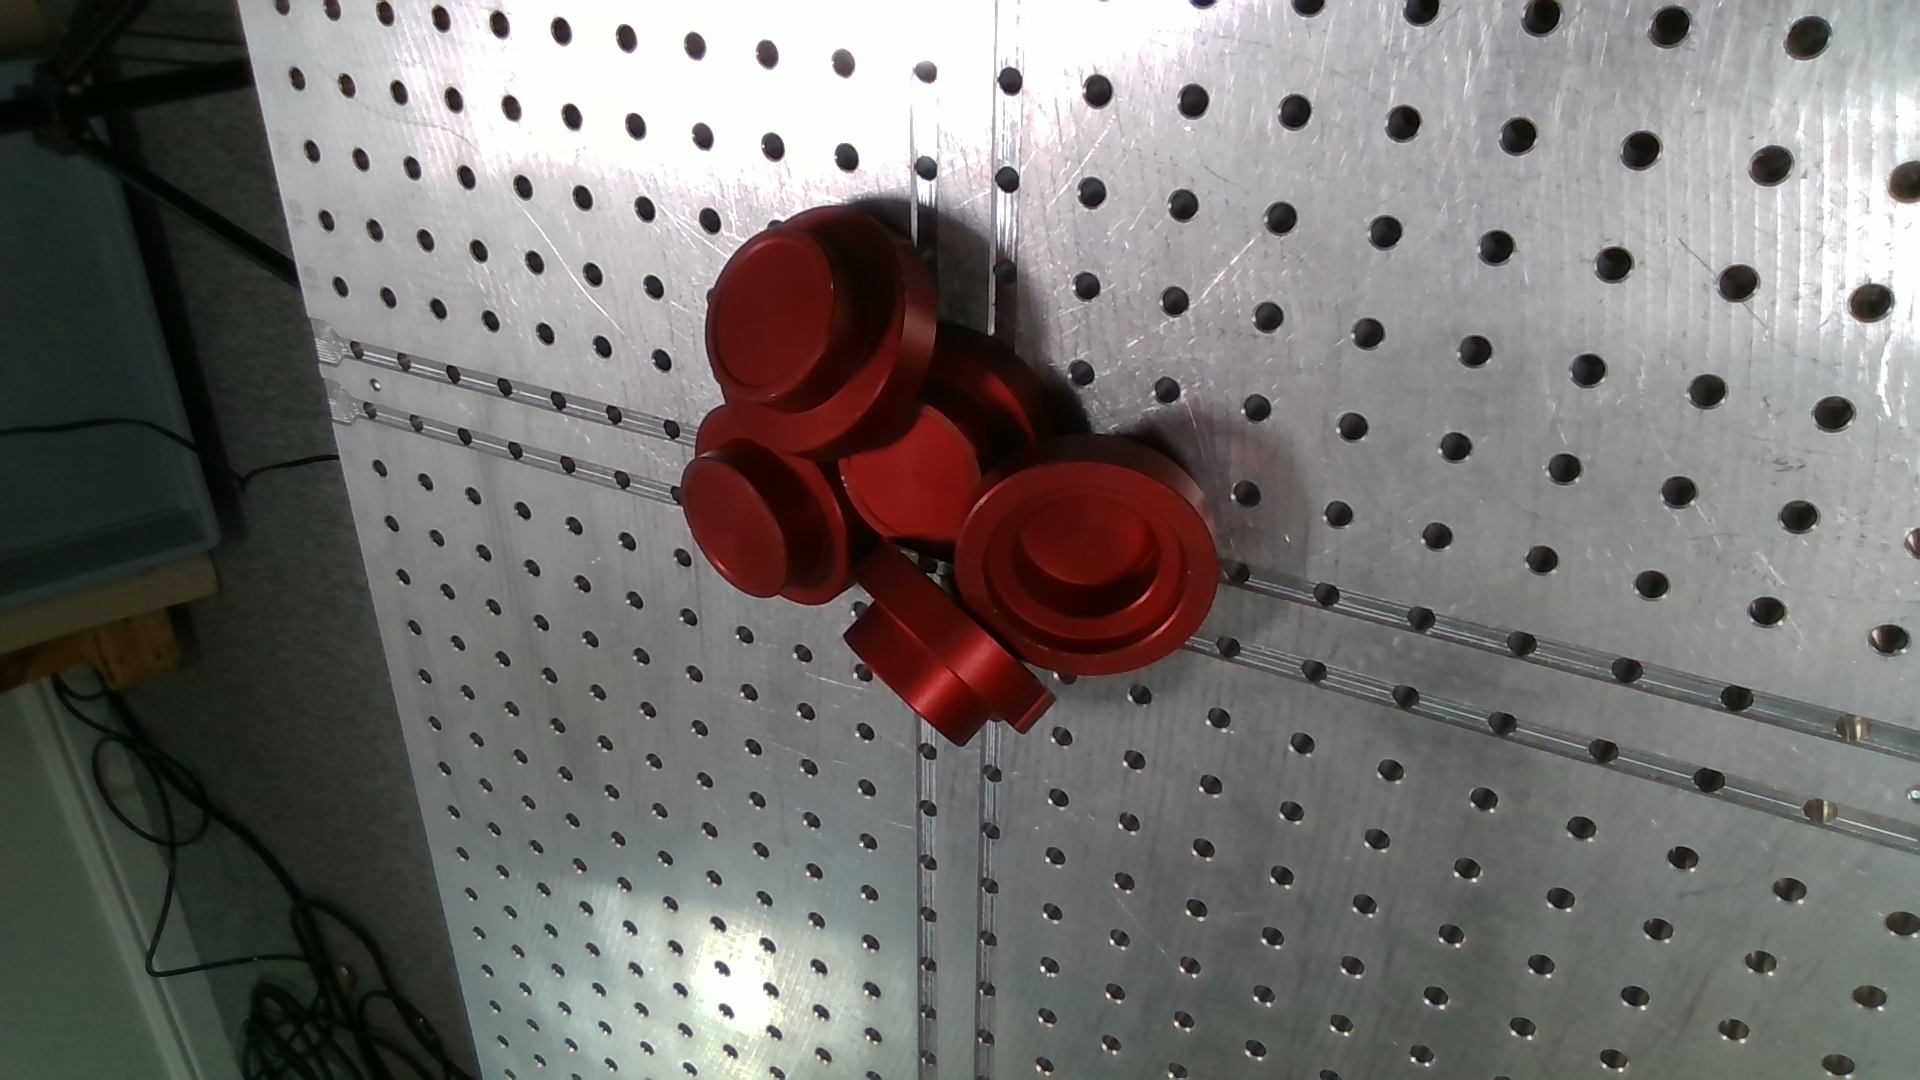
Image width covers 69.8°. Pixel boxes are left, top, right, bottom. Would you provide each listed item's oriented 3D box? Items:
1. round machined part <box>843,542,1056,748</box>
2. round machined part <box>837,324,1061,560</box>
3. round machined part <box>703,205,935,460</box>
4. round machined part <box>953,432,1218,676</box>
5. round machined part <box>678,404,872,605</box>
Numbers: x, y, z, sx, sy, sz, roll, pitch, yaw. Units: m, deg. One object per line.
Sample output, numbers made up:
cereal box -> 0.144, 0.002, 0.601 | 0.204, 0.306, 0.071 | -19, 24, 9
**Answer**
round machined part -> -0.010, 0.048, 0.566 | 0.098, 0.098, 0.042 | 43, 88, 5
round machined part -> -0.011, -0.035, 0.558 | 0.098, 0.042, 0.098 | 14, 122, 25
round machined part -> -0.061, -0.082, 0.534 | 0.098, 0.042, 0.098 | -6, 79, 36
round machined part -> 0.049, 0.001, 0.528 | 0.098, 0.042, 0.098 | 4, 124, 6
round machined part -> -0.085, -0.014, 0.600 | 0.098, 0.042, 0.098 | 26, 134, 31
